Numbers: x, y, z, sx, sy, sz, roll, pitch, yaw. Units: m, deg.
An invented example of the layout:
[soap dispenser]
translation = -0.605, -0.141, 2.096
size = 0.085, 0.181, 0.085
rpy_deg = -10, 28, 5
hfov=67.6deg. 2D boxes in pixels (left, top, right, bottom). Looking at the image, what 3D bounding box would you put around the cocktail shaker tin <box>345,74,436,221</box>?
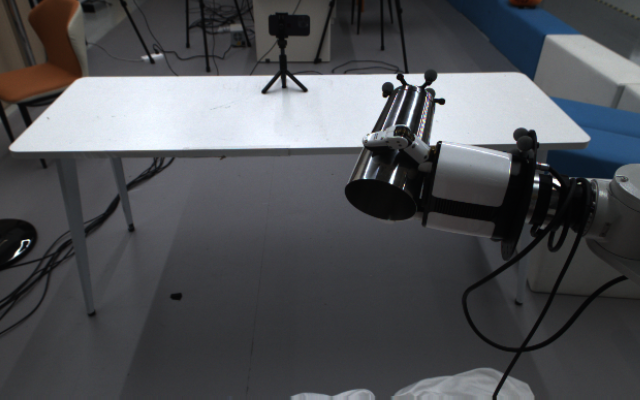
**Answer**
[cocktail shaker tin]
translation = 0.101, -0.069, 0.637
size = 0.093, 0.093, 0.170
rpy_deg = 13, 60, 16
